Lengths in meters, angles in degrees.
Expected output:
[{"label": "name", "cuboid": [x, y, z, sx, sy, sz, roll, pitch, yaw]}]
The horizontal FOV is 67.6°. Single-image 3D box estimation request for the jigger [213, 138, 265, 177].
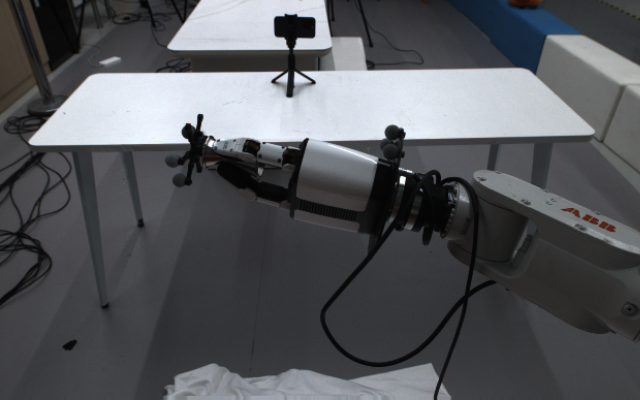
[{"label": "jigger", "cuboid": [-0.098, -0.056, 0.584, 0.071, 0.043, 0.043, 10, 35, 3]}]
